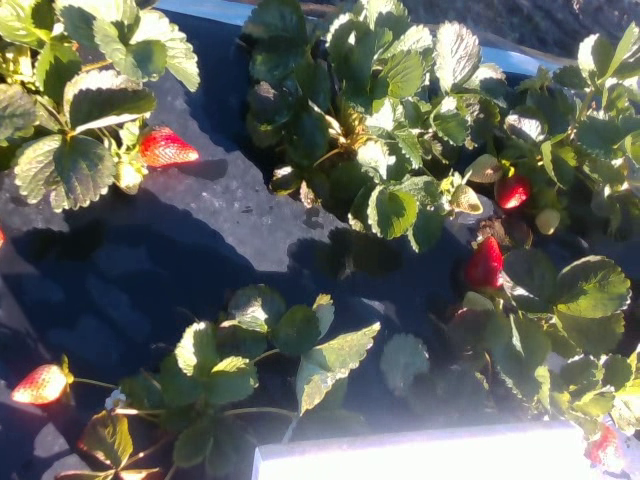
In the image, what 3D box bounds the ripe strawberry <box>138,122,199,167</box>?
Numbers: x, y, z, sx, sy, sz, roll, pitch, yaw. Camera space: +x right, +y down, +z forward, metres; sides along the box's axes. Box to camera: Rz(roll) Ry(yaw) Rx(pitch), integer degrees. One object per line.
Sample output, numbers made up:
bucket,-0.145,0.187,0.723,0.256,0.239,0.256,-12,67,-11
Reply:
ripe strawberry,-0.147,-0.088,0.572,0.064,0.050,0.052,12,12,-10
